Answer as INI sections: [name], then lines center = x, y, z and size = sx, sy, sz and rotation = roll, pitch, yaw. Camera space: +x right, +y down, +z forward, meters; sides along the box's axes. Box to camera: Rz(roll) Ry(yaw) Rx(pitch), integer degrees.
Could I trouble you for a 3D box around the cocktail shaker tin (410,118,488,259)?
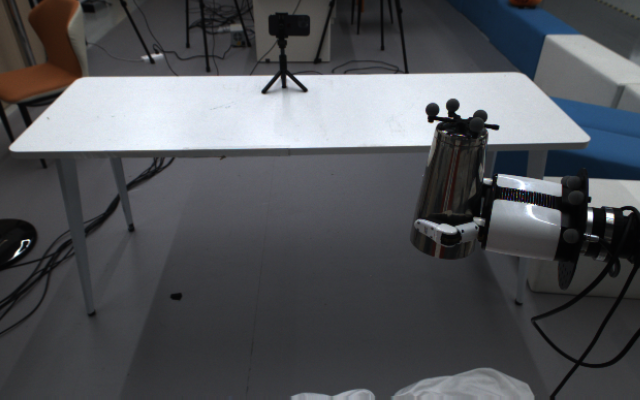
[cocktail shaker tin]
center = 0.180, -0.017, 0.658
size = 0.093, 0.170, 0.093
rotation = 1, 28, -1
